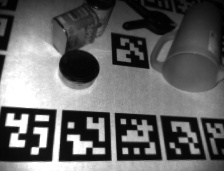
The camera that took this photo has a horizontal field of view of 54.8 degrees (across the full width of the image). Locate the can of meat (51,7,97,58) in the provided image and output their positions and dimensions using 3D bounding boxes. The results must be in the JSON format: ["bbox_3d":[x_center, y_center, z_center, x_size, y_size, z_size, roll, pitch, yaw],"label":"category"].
[{"bbox_3d":[-0.088,-0.117,0.491,0.084,0.101,0.057,-31,79,-23],"label":"can of meat"}]

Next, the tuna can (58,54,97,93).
[{"bbox_3d":[-0.079,-0.026,0.495,0.086,0.033,0.085,7,66,-15],"label":"tuna can"}]

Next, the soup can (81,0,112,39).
[{"bbox_3d":[-0.044,-0.172,0.536,0.068,0.102,0.067,5,66,-12],"label":"soup can"}]

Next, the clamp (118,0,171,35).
[{"bbox_3d":[0.096,-0.192,0.638,0.166,0.036,0.121,10,60,-18],"label":"clamp"}]

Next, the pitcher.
[{"bbox_3d":[0.221,-0.104,0.570,0.187,0.134,0.243,15,53,14],"label":"pitcher"}]
